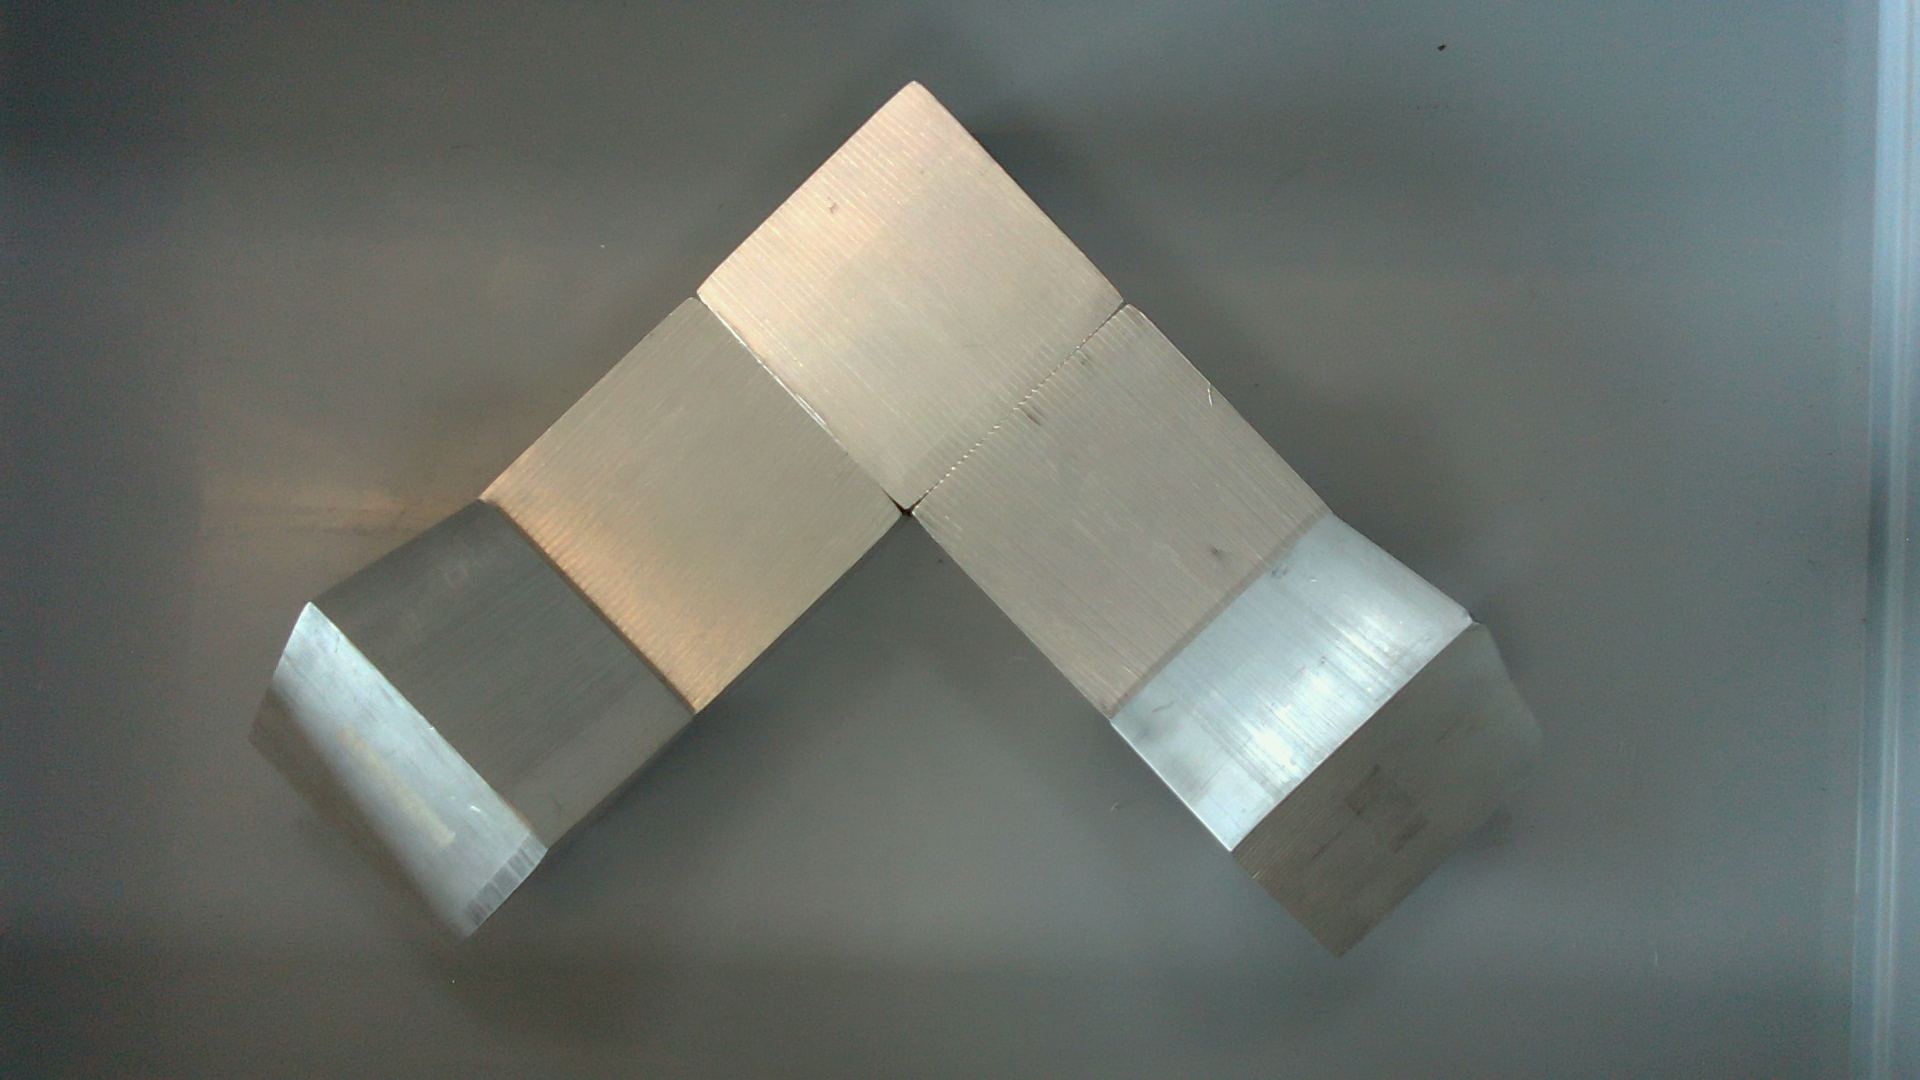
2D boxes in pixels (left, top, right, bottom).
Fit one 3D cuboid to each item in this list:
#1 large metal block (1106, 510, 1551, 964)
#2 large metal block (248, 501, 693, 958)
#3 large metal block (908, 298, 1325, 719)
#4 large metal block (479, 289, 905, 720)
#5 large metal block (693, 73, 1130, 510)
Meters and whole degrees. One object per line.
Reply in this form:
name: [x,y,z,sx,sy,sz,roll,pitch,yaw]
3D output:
large metal block: [0.098,0.053,0.361,0.080,0.050,0.080,-44,134,0]
large metal block: [-0.129,0.051,0.359,0.080,0.050,0.080,46,133,0]
large metal block: [0.043,-0.006,0.381,0.080,0.050,0.080,-44,90,0]
large metal block: [-0.071,-0.008,0.381,0.080,0.050,0.080,-44,90,0]
large metal block: [-0.013,-0.064,0.381,0.080,0.050,0.080,-44,90,0]
